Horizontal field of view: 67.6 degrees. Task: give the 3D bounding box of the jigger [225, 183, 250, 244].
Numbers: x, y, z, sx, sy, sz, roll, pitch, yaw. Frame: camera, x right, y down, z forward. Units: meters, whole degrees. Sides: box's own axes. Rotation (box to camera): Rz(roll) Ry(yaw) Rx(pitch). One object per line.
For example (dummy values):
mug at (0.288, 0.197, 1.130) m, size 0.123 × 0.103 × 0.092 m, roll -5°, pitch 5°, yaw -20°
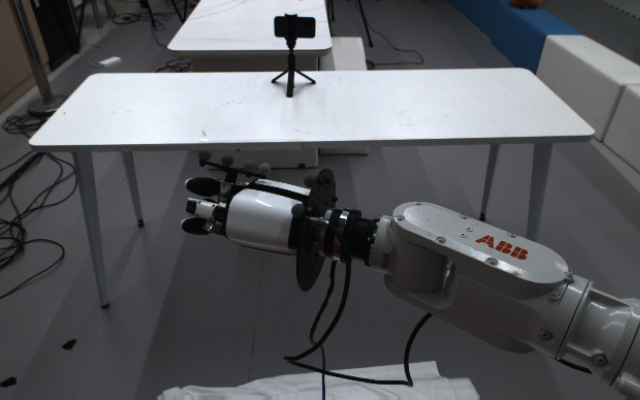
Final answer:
jigger at (-0.124, 0.009, 0.648) m, size 0.043 × 0.071 × 0.043 m, roll 14°, pitch 1°, yaw 0°
